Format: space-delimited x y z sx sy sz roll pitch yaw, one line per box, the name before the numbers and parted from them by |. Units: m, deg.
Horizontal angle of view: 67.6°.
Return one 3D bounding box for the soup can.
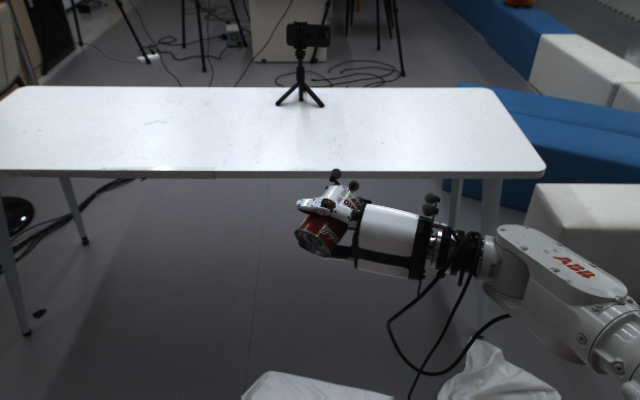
soup can | 0.015 0.031 0.771 0.067 0.067 0.101 22 60 27
